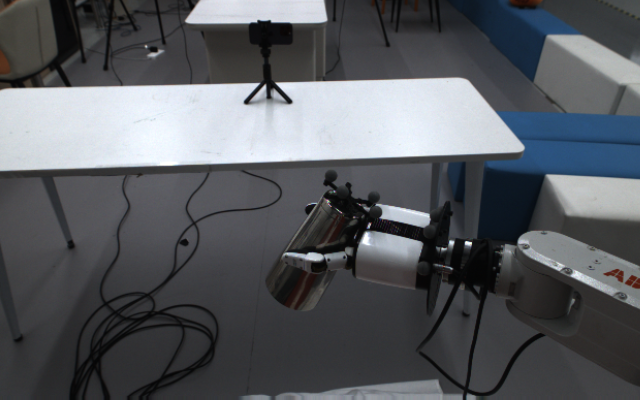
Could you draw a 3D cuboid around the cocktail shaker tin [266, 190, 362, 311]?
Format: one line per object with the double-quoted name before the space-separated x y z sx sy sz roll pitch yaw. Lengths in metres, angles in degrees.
"cocktail shaker tin" -0.002 0.067 0.708 0.093 0.170 0.093 25 29 -15
